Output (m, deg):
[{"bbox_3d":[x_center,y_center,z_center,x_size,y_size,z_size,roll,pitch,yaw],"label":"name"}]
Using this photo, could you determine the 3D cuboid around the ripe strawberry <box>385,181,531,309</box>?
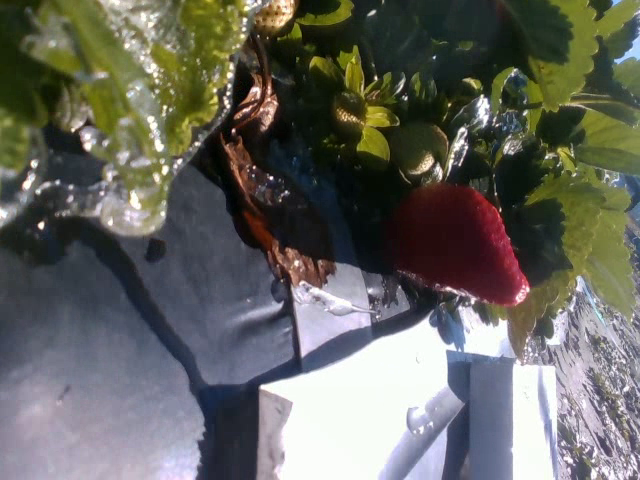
[{"bbox_3d":[0.062,0.011,0.238,0.057,0.062,0.065,-30,42,-8],"label":"ripe strawberry"}]
